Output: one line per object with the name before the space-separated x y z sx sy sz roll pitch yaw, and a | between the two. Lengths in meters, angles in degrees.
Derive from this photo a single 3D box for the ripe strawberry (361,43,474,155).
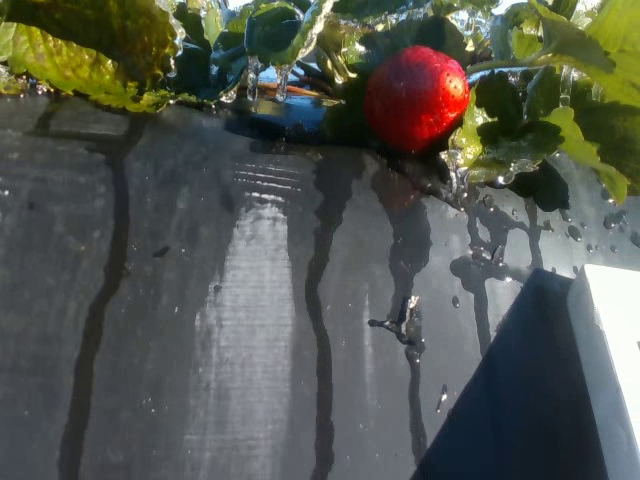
ripe strawberry | 0.038 -0.053 0.223 0.041 0.047 0.053 5 2 -2
